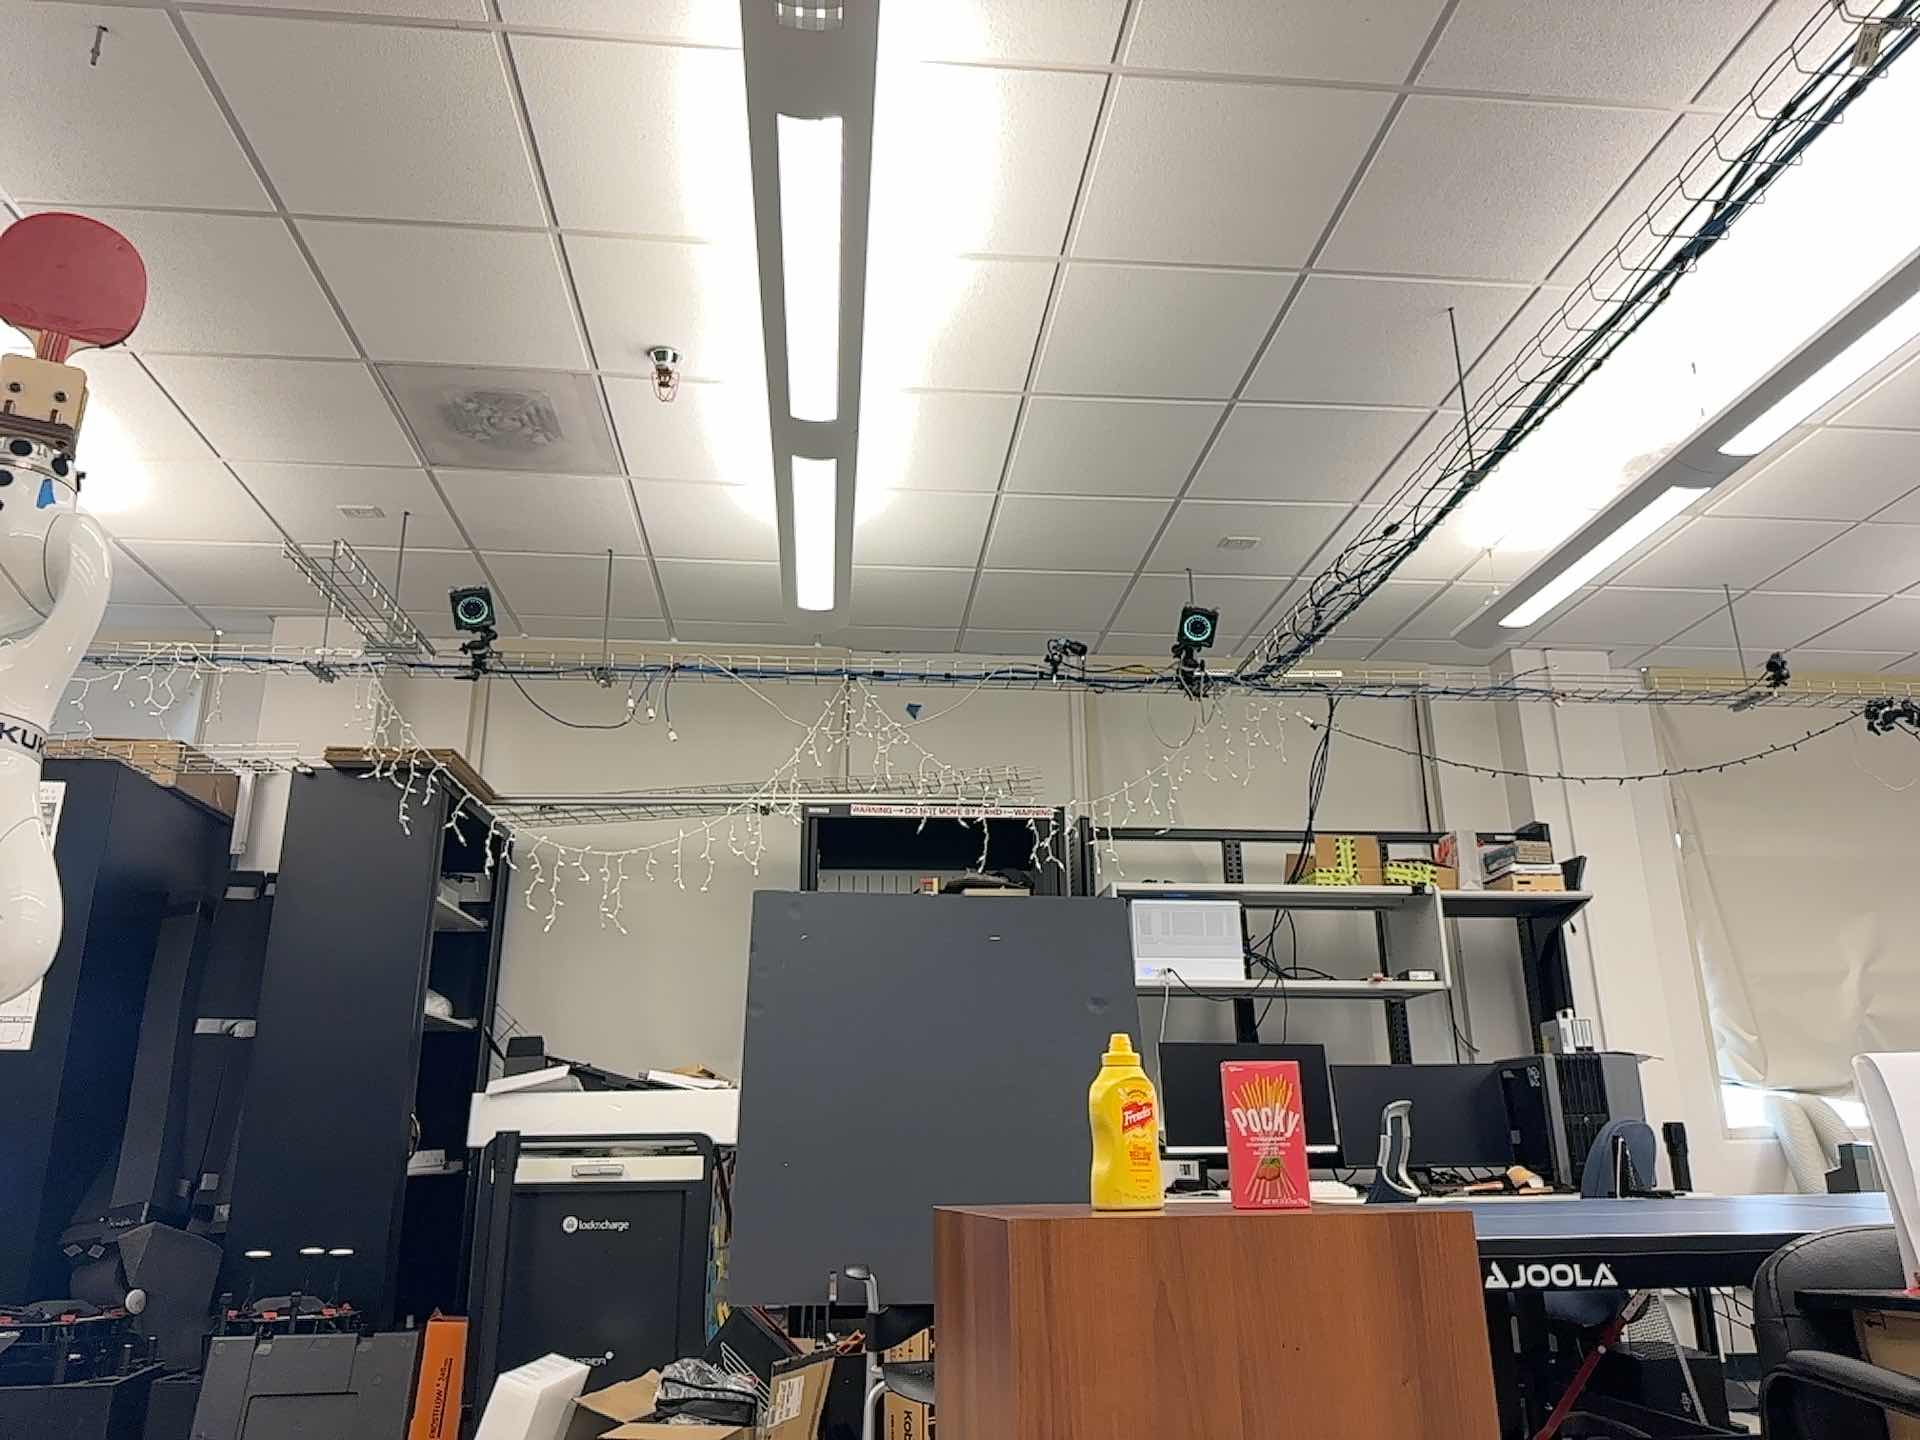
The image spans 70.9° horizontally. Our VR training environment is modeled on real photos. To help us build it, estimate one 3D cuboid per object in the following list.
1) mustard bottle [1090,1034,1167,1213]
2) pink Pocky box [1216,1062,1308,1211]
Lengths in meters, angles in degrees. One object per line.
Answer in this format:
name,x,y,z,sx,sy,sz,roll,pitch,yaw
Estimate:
mustard bottle,0.179,0.435,1.463,0.092,0.184,0.054,11,-21,-32
pink Pocky box,0.332,0.459,1.490,0.084,0.154,0.029,-1,-18,1
